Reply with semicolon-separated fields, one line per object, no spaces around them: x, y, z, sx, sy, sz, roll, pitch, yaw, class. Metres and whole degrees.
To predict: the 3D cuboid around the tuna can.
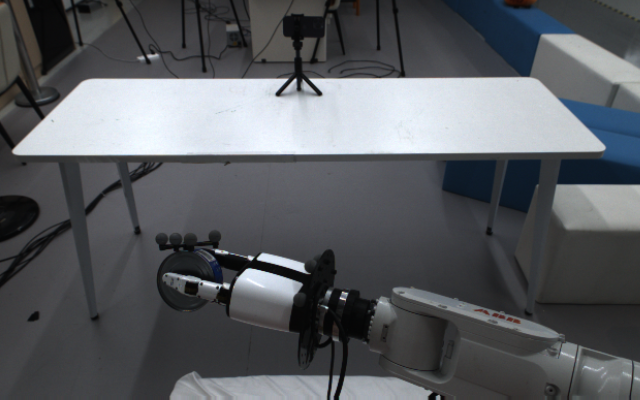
-0.174;0.113;0.675;0.085;0.085;0.034;10;2;11;tuna can
